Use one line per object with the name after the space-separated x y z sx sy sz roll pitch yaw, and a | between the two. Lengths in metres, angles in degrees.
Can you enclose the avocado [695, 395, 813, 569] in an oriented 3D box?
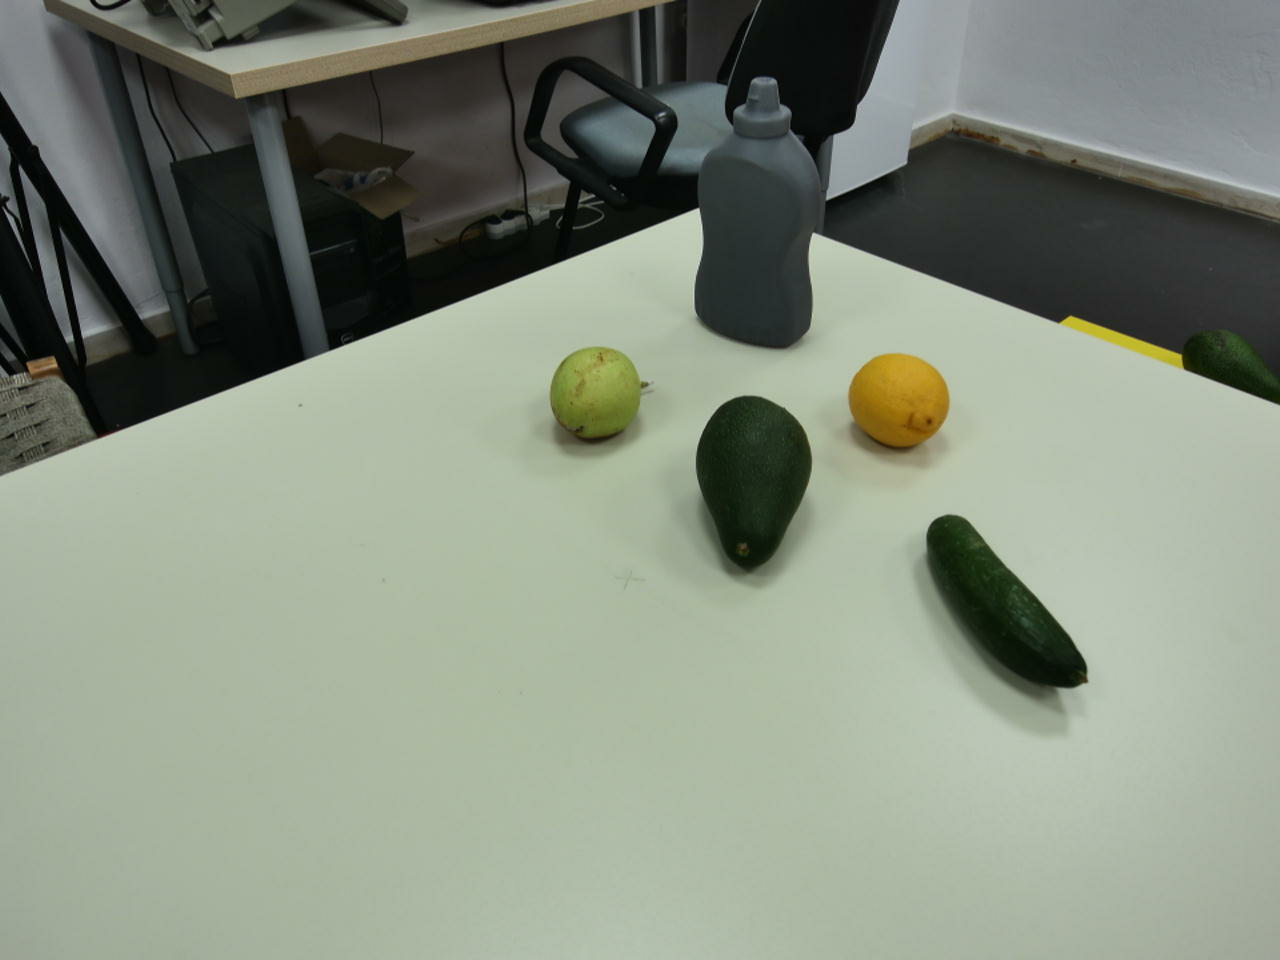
0.064 -0.004 0.600 0.073 0.071 0.109 16 40 21 | avocado
